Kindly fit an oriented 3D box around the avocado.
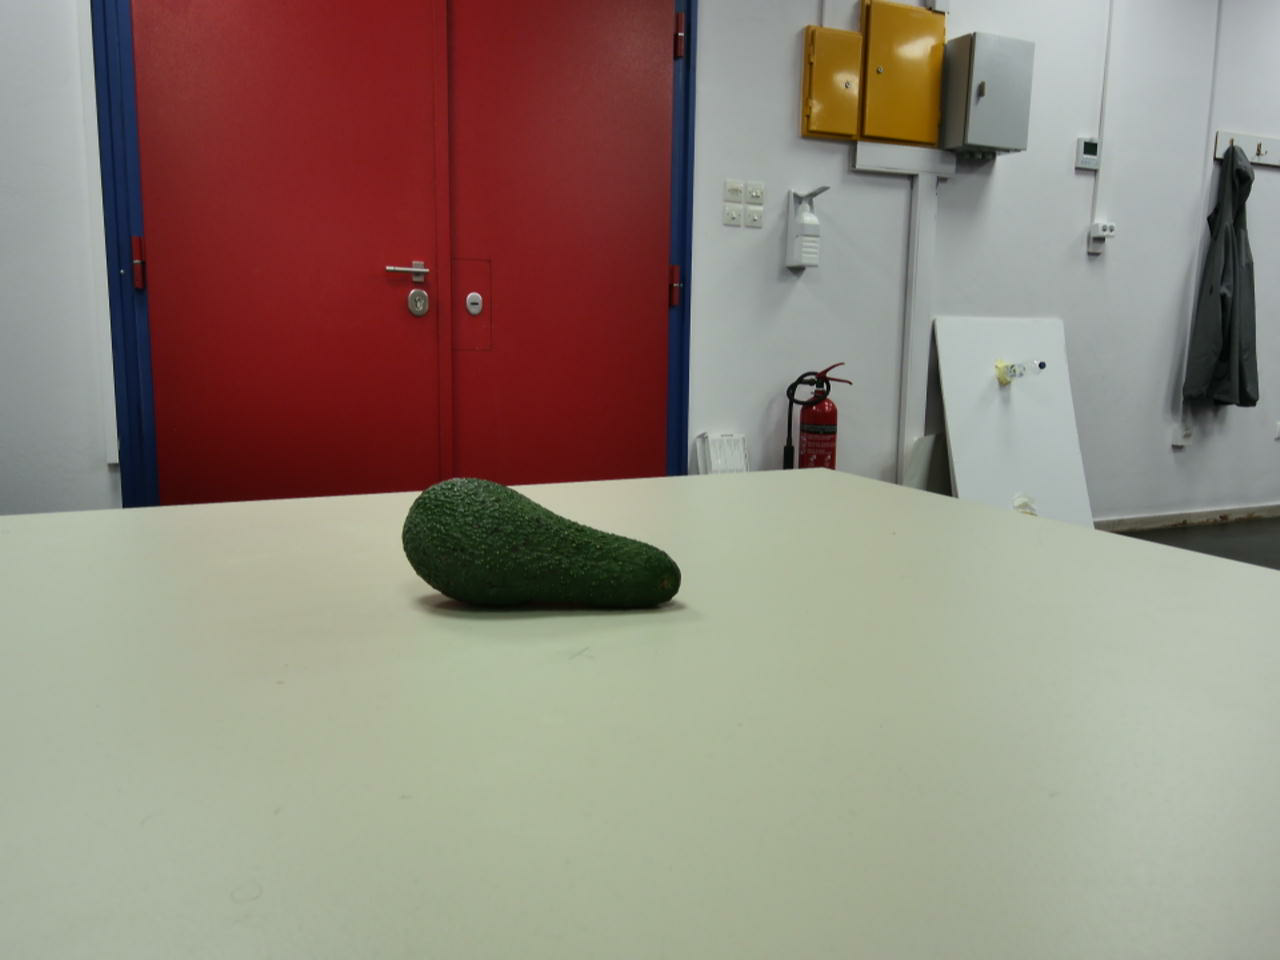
[{"bbox_3d":[-0.050,0.031,0.515,0.141,0.067,0.063,-1,6,-10],"label":"avocado"}]
